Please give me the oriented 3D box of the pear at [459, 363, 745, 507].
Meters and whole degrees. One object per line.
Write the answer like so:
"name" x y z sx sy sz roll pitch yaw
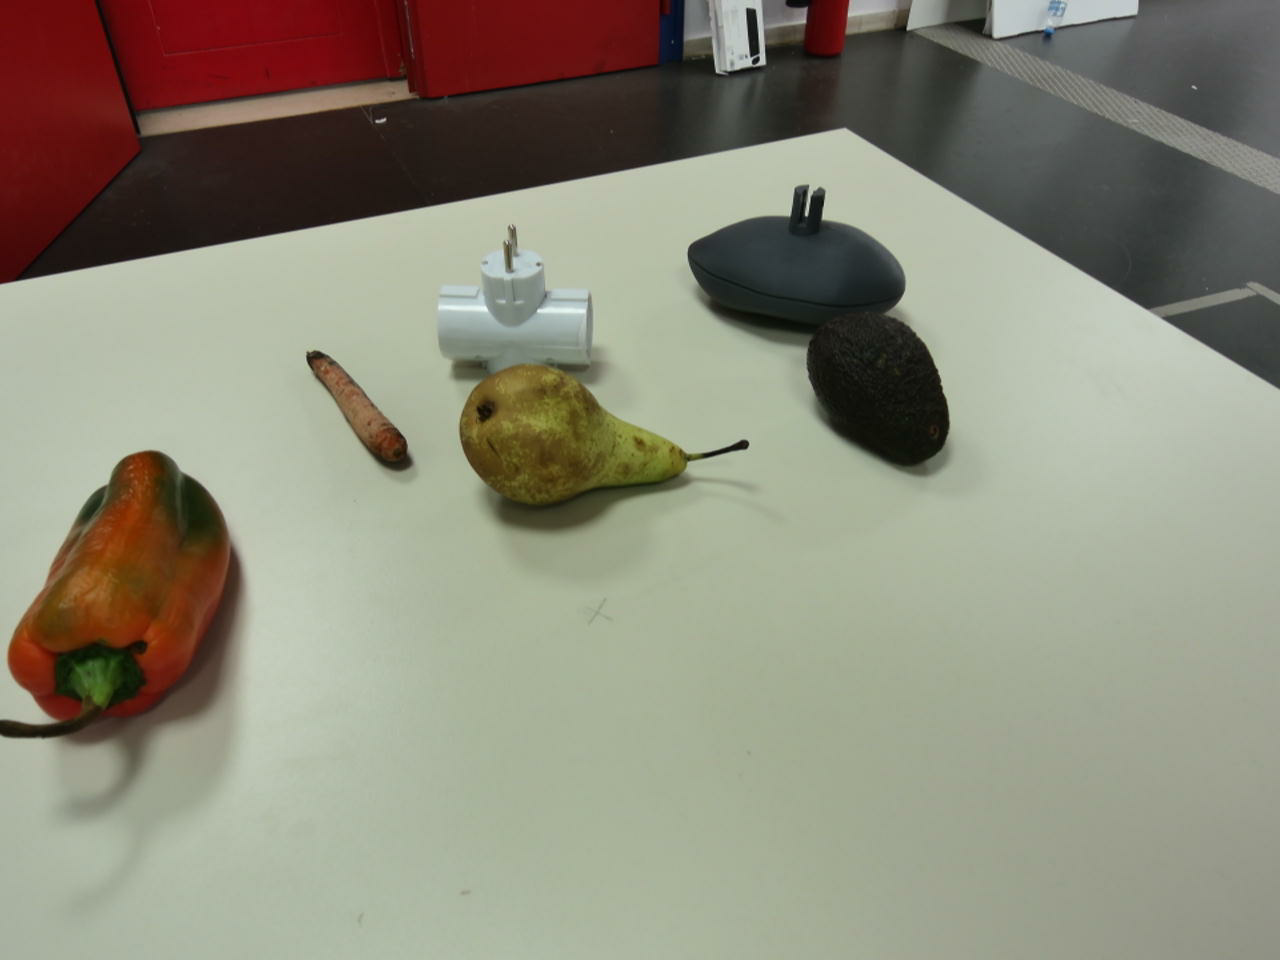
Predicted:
"pear" -0.022 -0.030 0.524 0.144 0.075 0.071 -12 40 -14
